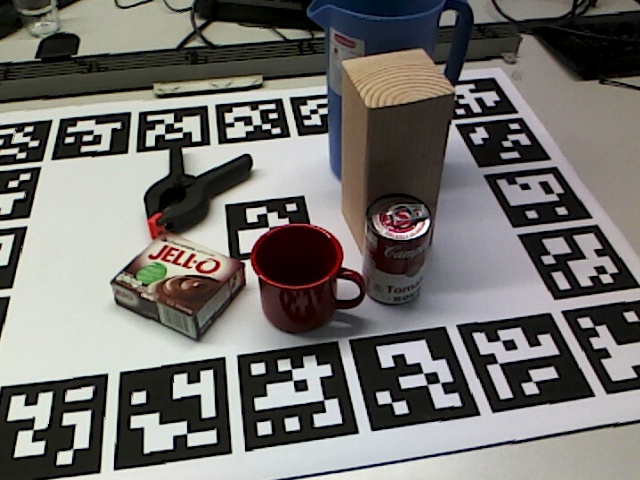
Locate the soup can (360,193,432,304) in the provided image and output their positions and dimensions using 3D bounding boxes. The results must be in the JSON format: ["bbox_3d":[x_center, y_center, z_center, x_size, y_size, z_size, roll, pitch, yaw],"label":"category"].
[{"bbox_3d":[0.077,0.010,0.645,0.068,0.102,0.068,-1,47,1],"label":"soup can"}]

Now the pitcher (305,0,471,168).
[{"bbox_3d":[0.083,-0.189,0.752,0.188,0.241,0.134,-9,43,-4],"label":"pitcher"}]

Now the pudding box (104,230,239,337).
[{"bbox_3d":[-0.159,0.045,0.669,0.114,0.038,0.090,20,51,22],"label":"pudding box"}]

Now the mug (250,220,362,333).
[{"bbox_3d":[-0.012,0.044,0.631,0.118,0.081,0.093,18,45,21],"label":"mug"}]

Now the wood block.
[{"bbox_3d":[0.078,-0.091,0.674,0.089,0.206,0.091,-7,44,-10],"label":"wood block"}]

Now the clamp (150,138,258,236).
[{"bbox_3d":[-0.163,-0.065,0.789,0.122,0.036,0.165,18,48,10],"label":"clamp"}]
